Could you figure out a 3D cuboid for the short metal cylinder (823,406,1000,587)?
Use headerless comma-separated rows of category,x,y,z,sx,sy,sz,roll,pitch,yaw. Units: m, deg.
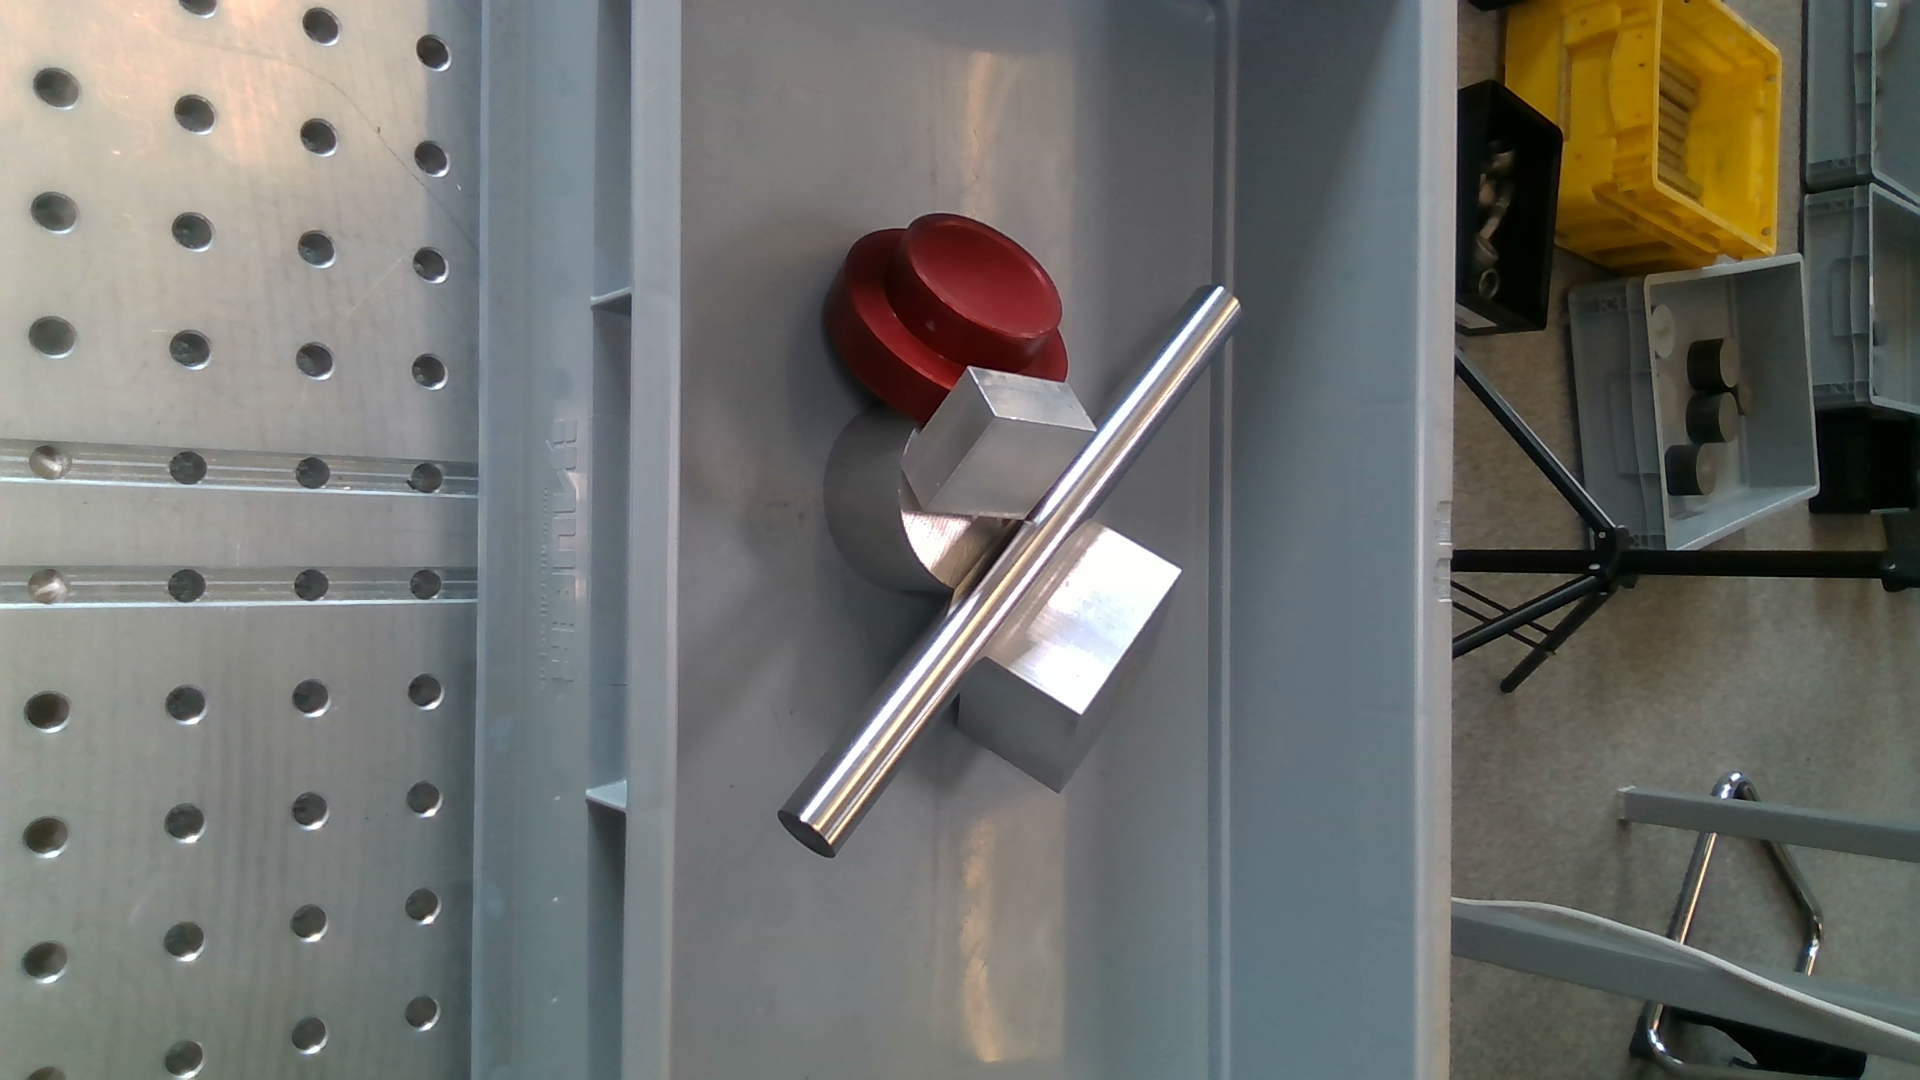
short metal cylinder,-0.008,-0.019,0.558,0.080,0.050,0.080,0,90,-40

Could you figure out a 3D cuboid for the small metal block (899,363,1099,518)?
small metal block,0.014,-0.035,0.509,0.050,0.050,0.025,4,47,-40

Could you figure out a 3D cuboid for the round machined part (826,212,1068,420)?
round machined part,0.000,-0.090,0.537,0.098,0.042,0.098,20,42,-19

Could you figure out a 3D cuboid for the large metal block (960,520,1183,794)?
large metal block,0.045,0.047,0.576,0.080,0.050,0.080,-52,163,-28

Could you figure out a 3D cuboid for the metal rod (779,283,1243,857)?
metal rod,0.031,-0.002,0.543,0.299,0.025,0.025,-51,120,-28
